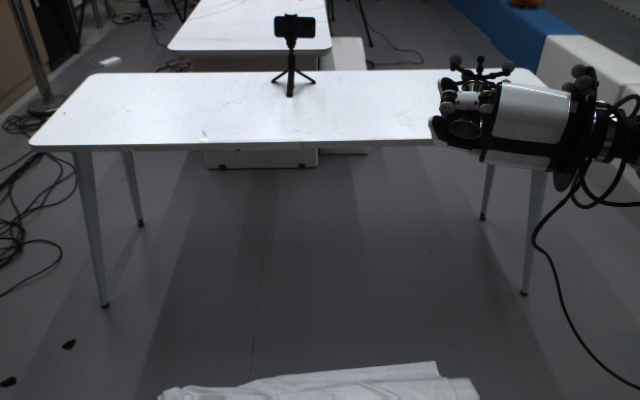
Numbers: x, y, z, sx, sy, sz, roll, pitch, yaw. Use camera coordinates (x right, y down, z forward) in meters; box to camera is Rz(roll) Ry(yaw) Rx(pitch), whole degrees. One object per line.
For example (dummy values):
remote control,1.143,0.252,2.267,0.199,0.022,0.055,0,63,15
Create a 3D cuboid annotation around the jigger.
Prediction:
jigger,0.207,-0.123,0.654,0.043,0.043,0.071,13,69,15
